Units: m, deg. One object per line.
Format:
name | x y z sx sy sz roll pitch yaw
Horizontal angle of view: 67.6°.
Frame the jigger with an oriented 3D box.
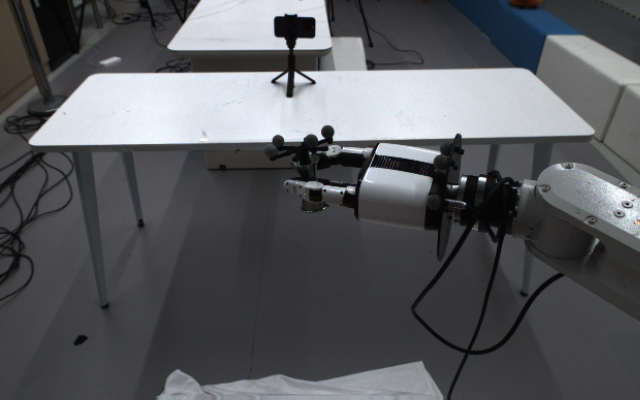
jigger | -0.012 -0.023 0.658 0.043 0.071 0.043 -12 24 5
